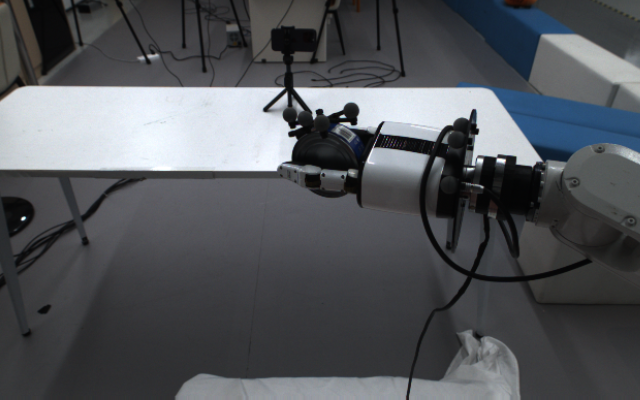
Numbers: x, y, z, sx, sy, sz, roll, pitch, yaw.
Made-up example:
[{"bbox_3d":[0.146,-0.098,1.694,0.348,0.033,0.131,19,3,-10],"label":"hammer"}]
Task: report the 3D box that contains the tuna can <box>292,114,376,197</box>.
[{"bbox_3d":[0.014,-0.049,0.576,0.085,0.085,0.034,17,36,20],"label":"tuna can"}]
